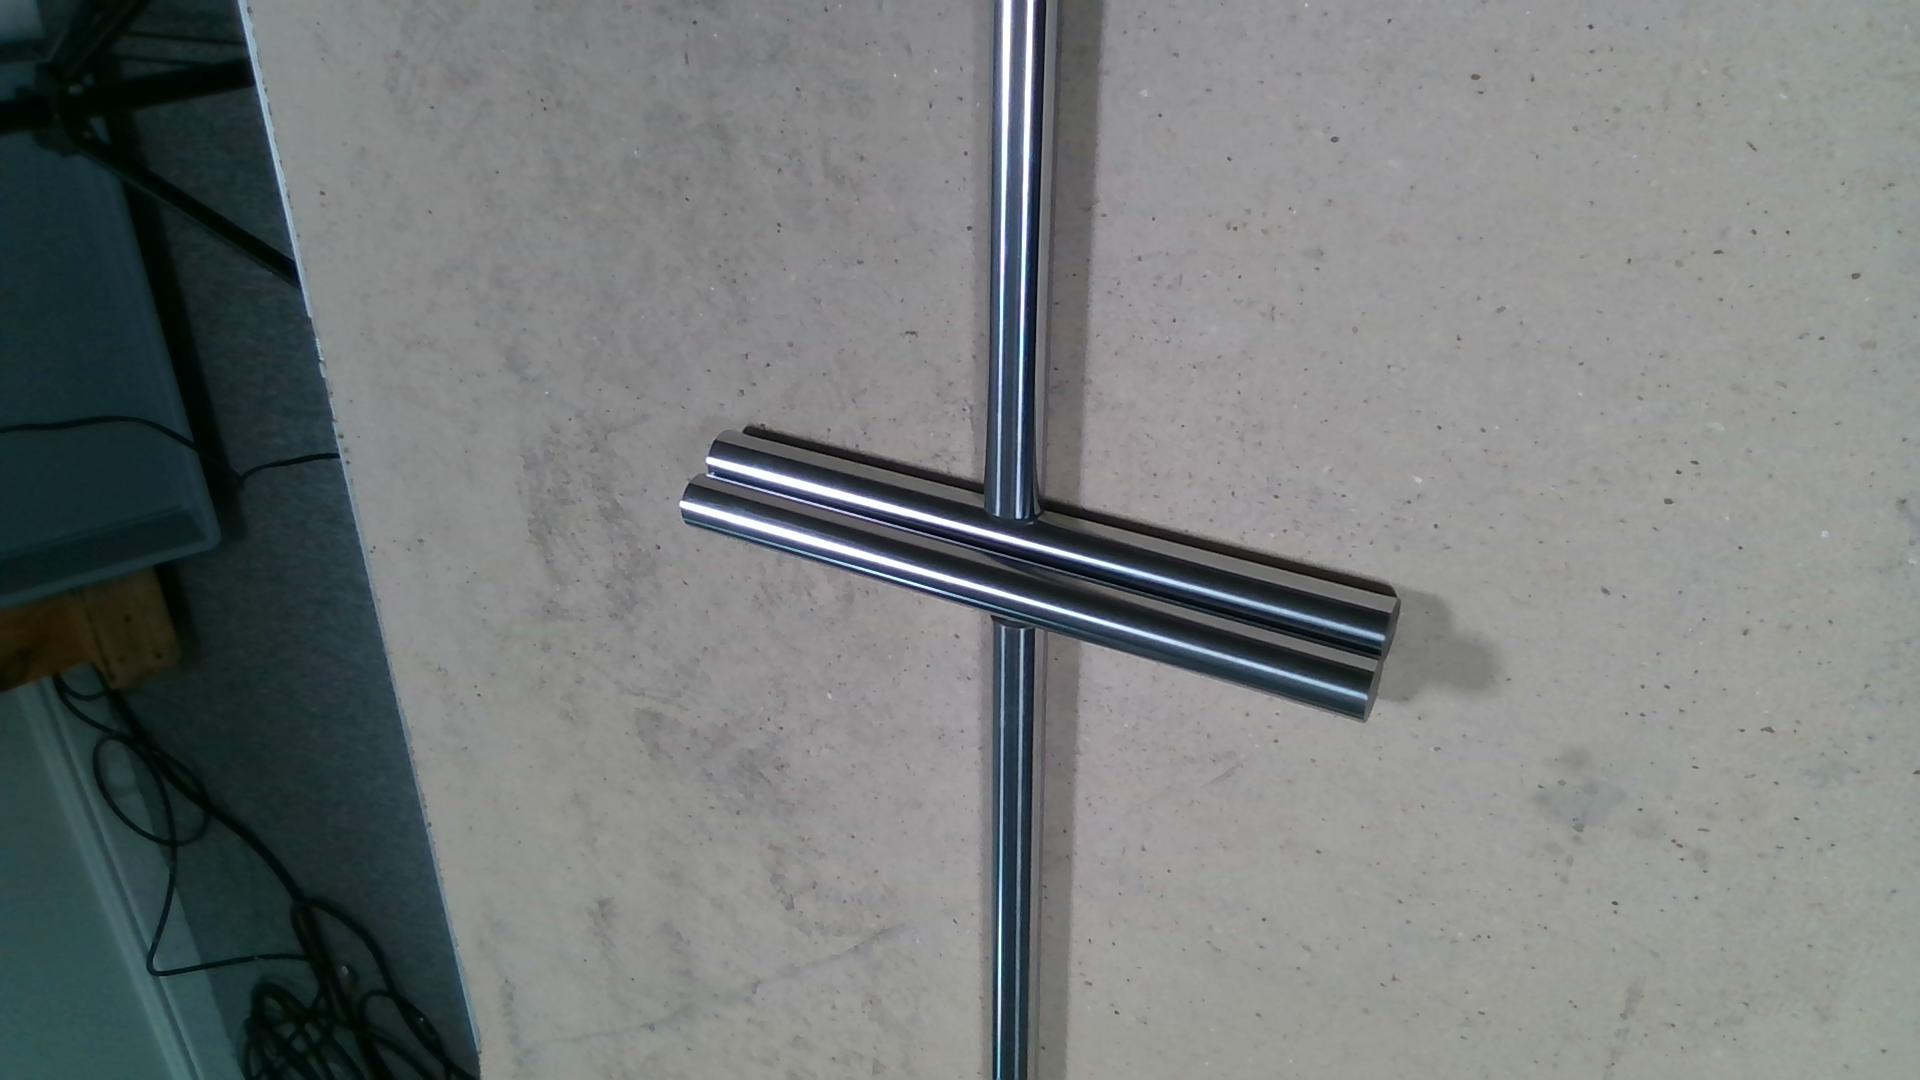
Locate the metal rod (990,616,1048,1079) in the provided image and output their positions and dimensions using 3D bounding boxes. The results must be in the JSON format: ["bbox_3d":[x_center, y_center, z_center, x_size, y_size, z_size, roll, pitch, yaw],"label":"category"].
[{"bbox_3d":[0.027,0.163,0.653,0.025,0.025,0.301,14,122,25],"label":"metal rod"}]

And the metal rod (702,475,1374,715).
[{"bbox_3d":[0.020,0.018,0.579,0.300,0.025,0.025,15,122,24],"label":"metal rod"}]

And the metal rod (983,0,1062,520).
[{"bbox_3d":[0.022,-0.146,0.486,0.025,0.025,0.301,15,122,25],"label":"metal rod"}]

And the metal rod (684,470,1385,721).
[{"bbox_3d":[0.017,0.017,0.553,0.300,0.025,0.025,15,122,24],"label":"metal rod"}]

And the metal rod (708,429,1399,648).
[{"bbox_3d":[0.025,-0.003,0.564,0.300,0.025,0.025,15,122,24],"label":"metal rod"}]
